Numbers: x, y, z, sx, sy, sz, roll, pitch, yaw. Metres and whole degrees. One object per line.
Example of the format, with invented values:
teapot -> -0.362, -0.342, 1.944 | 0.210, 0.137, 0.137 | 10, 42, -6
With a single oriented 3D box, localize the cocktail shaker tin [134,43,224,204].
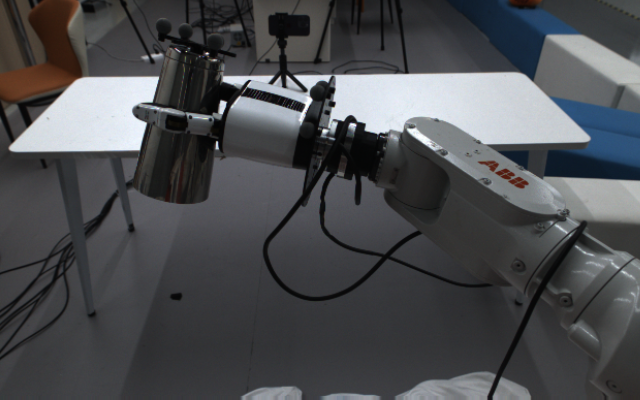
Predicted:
cocktail shaker tin -> -0.164, -0.090, 0.580 | 0.093, 0.170, 0.093 | 14, 17, -4
